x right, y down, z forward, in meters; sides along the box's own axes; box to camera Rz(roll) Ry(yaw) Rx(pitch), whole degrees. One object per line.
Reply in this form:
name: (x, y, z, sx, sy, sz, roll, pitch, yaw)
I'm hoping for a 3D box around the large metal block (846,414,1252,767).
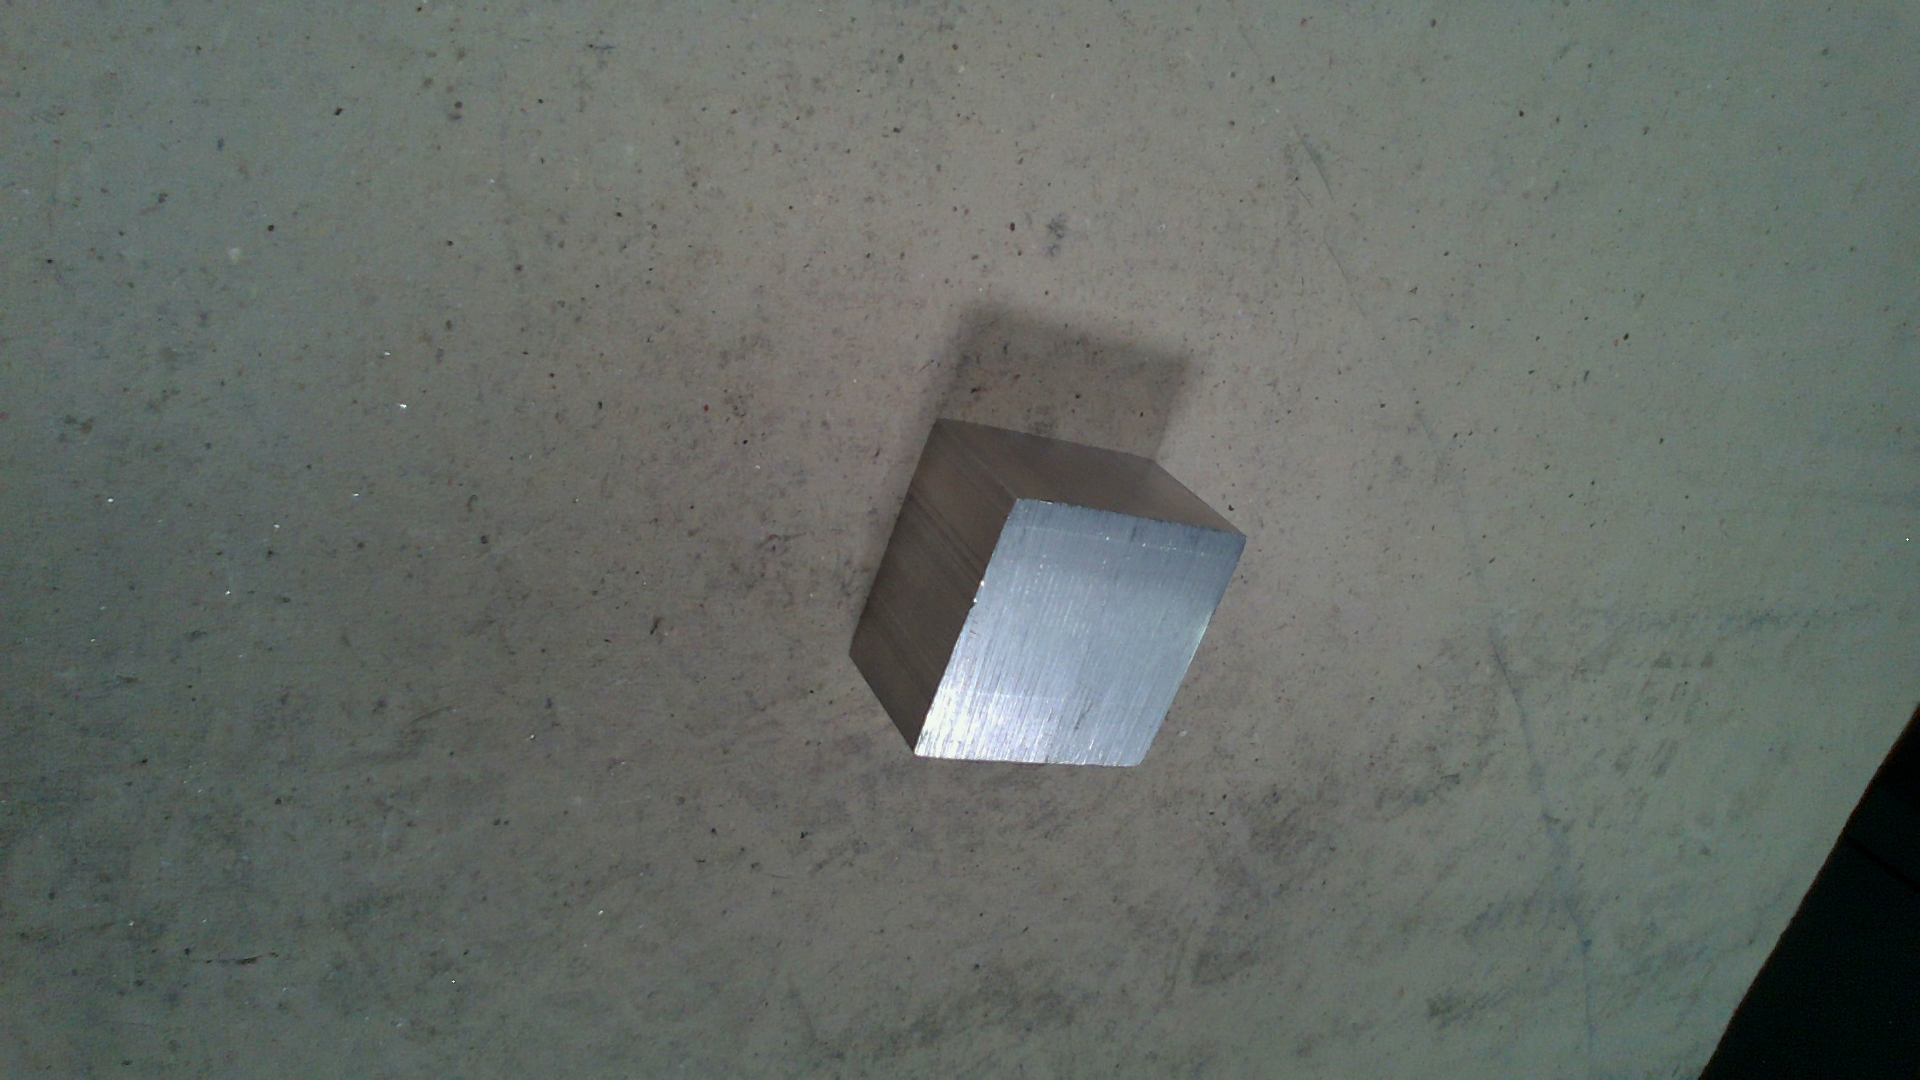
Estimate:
large metal block: (0.024, 0.017, 0.396, 0.080, 0.050, 0.080, 8, 114, -32)
